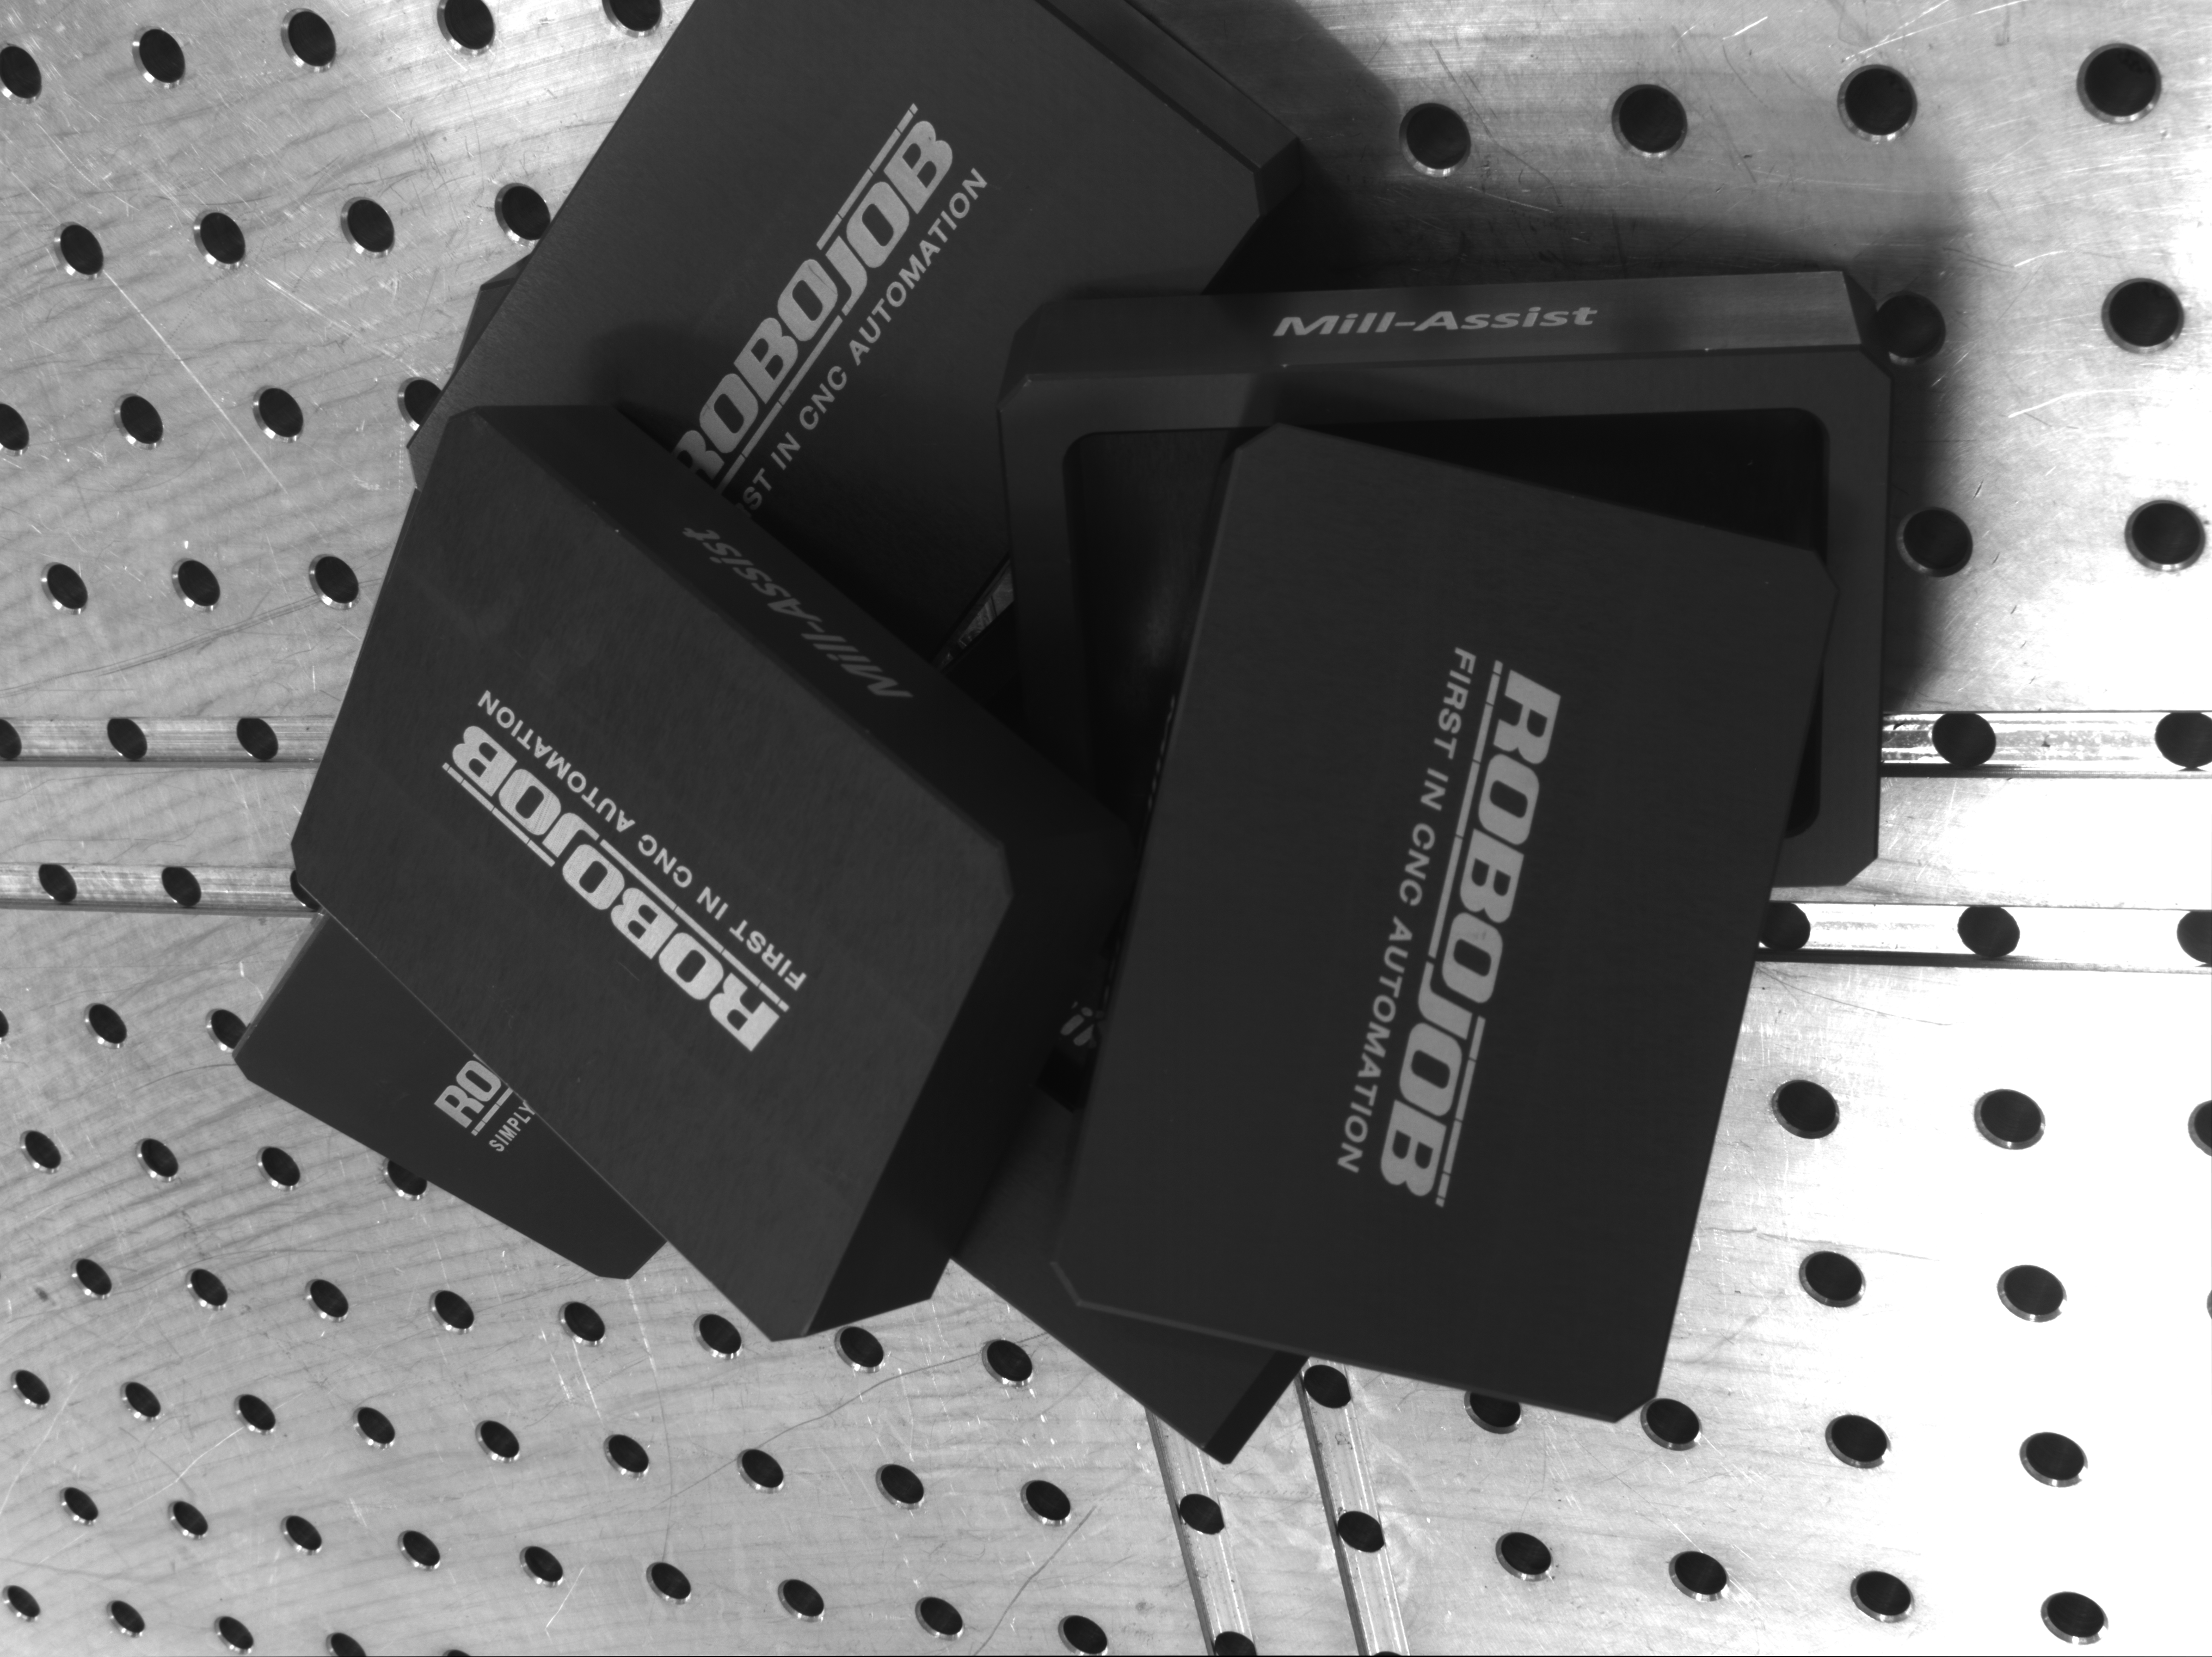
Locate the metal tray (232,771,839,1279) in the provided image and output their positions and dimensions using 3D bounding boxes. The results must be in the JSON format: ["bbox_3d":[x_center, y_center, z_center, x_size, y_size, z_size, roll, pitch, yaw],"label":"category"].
[{"bbox_3d":[-0.101,0.030,0.686,0.090,0.030,0.130,31,142,-12],"label":"metal tray"}]

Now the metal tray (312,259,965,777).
[{"bbox_3d":[-0.086,-0.033,0.668,0.090,0.030,0.130,33,129,6],"label":"metal tray"}]

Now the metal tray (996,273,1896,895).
[{"bbox_3d":[0.052,-0.036,0.564,0.130,0.030,0.090,-1,119,6],"label":"metal tray"}]

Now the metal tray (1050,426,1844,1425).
[{"bbox_3d":[0.049,0.014,0.544,0.090,0.030,0.130,13,90,-3],"label":"metal tray"}]

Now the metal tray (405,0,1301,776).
[{"bbox_3d":[-0.042,-0.083,0.591,0.090,0.030,0.130,39,115,0],"label":"metal tray"}]

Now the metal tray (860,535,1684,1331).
[{"bbox_3d":[0.027,0.016,0.600,0.130,0.090,0.030,39,130,3],"label":"metal tray"}]

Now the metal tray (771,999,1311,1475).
[{"bbox_3d":[-0.007,0.066,0.631,0.090,0.130,0.030,37,87,3],"label":"metal tray"}]

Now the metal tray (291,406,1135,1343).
[{"bbox_3d":[-0.065,0.005,0.567,0.130,0.030,0.090,39,118,27],"label":"metal tray"}]
